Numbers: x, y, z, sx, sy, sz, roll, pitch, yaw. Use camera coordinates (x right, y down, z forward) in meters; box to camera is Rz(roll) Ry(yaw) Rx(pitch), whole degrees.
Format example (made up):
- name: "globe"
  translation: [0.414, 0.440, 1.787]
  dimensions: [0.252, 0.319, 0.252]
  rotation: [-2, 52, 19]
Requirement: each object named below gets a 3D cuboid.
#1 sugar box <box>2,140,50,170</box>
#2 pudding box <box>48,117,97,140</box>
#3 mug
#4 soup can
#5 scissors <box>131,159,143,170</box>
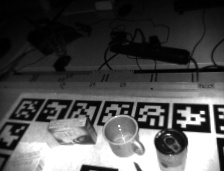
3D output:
- name: "sugar box"
  translation: [-0.244, 0.229, 0.583]
  dimensions: [0.092, 0.046, 0.176]
  rotation: [-3, 47, 17]
- name: "pudding box"
  translation: [-0.109, 0.116, 0.612]
  dimensions: [0.113, 0.091, 0.038]
  rotation: [-7, 51, 10]
- name: "mug"
  translation: [0.035, 0.120, 0.576]
  dimensions: [0.093, 0.082, 0.116]
  rotation: [-27, 43, -7]
- name: "soup can"
  translation: [0.136, 0.147, 0.515]
  dimensions: [0.067, 0.103, 0.067]
  rotation: [-9, 43, 10]
- name: "scissors"
  translation: [0.101, 0.239, 0.482]
  dimensions: [0.088, 0.016, 0.200]
  rotation: [-36, 47, -6]
